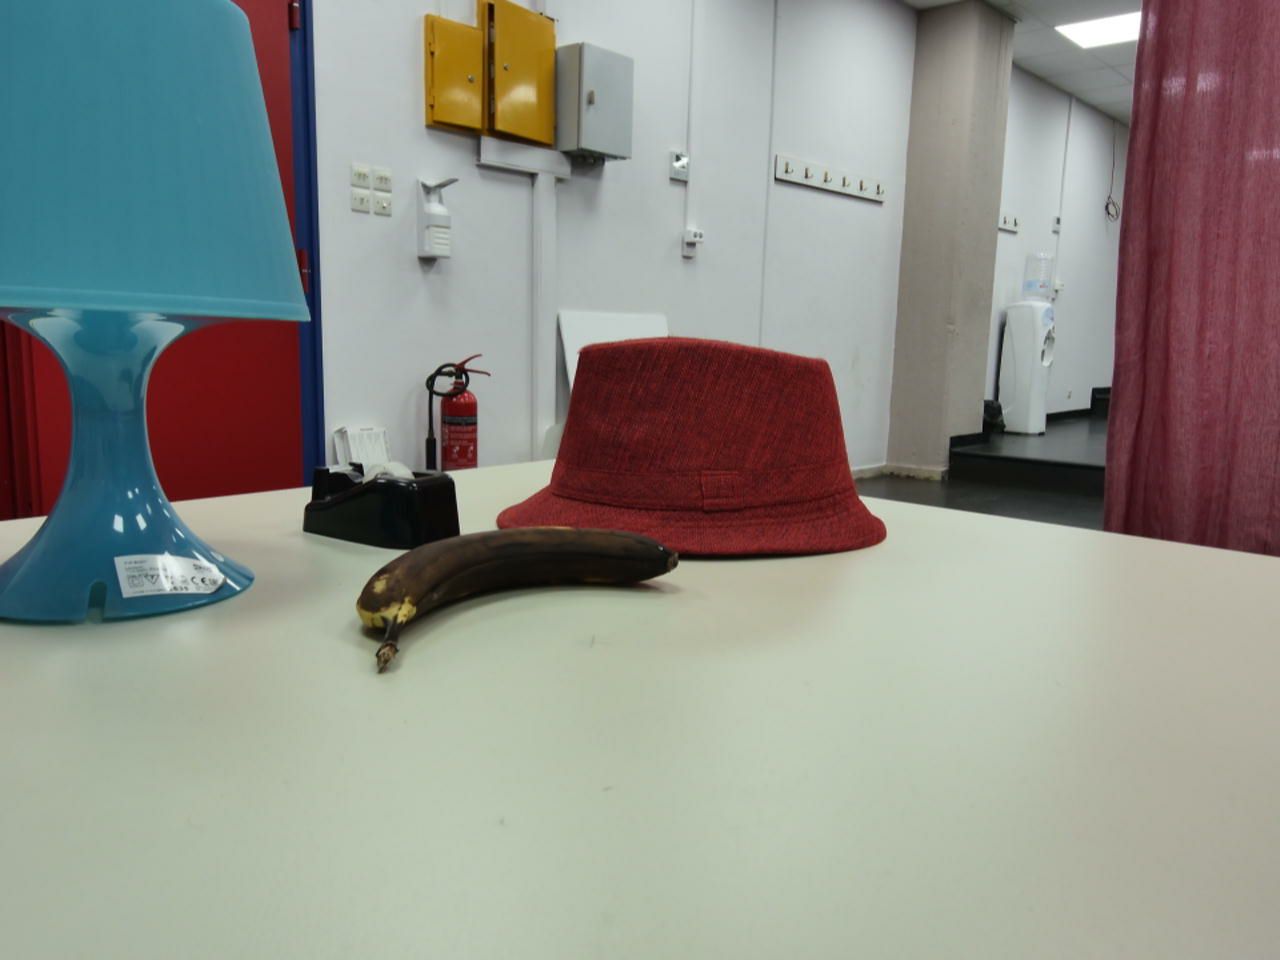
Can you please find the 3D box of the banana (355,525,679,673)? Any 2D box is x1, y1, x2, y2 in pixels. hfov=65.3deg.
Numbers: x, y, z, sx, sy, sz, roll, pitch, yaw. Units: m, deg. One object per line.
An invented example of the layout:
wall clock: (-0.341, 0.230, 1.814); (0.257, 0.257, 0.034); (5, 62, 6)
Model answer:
banana: (-0.071, 0.047, 0.498); (0.091, 0.033, 0.188); (6, 9, 42)
